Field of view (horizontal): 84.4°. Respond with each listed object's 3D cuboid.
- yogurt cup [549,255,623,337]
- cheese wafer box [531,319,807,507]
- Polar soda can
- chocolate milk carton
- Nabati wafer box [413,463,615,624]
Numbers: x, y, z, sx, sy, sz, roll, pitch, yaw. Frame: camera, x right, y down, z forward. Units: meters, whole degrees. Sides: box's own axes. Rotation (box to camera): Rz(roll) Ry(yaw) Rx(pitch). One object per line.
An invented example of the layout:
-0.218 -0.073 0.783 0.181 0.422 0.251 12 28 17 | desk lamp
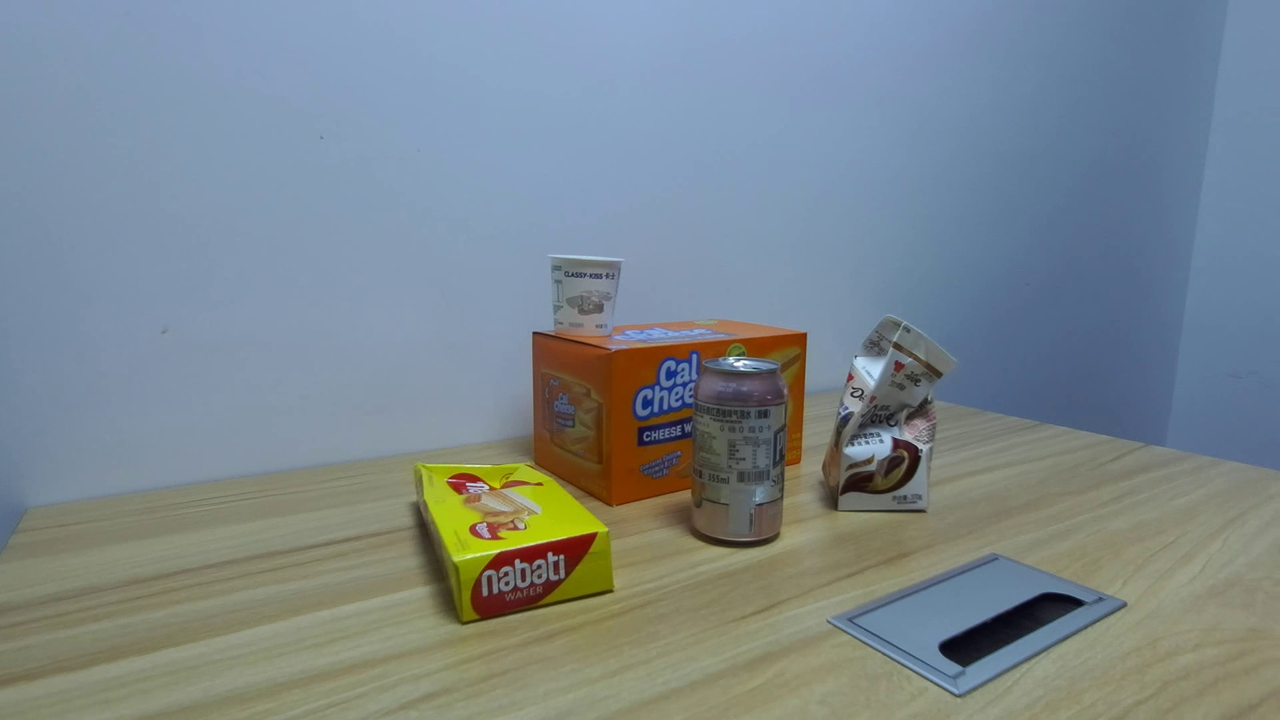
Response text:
-0.050 -0.058 0.637 0.072 0.068 0.072 3 8 0 | yogurt cup
0.028 0.036 0.666 0.223 0.129 0.147 -6 11 -34 | cheese wafer box
0.070 0.063 0.502 0.067 0.125 0.067 1 6 0 | Polar soda can
0.201 0.046 0.568 0.089 0.155 0.076 14 11 -4 | chocolate milk carton
-0.097 0.108 0.487 0.097 0.042 0.202 -5 9 -22 | Nabati wafer box
